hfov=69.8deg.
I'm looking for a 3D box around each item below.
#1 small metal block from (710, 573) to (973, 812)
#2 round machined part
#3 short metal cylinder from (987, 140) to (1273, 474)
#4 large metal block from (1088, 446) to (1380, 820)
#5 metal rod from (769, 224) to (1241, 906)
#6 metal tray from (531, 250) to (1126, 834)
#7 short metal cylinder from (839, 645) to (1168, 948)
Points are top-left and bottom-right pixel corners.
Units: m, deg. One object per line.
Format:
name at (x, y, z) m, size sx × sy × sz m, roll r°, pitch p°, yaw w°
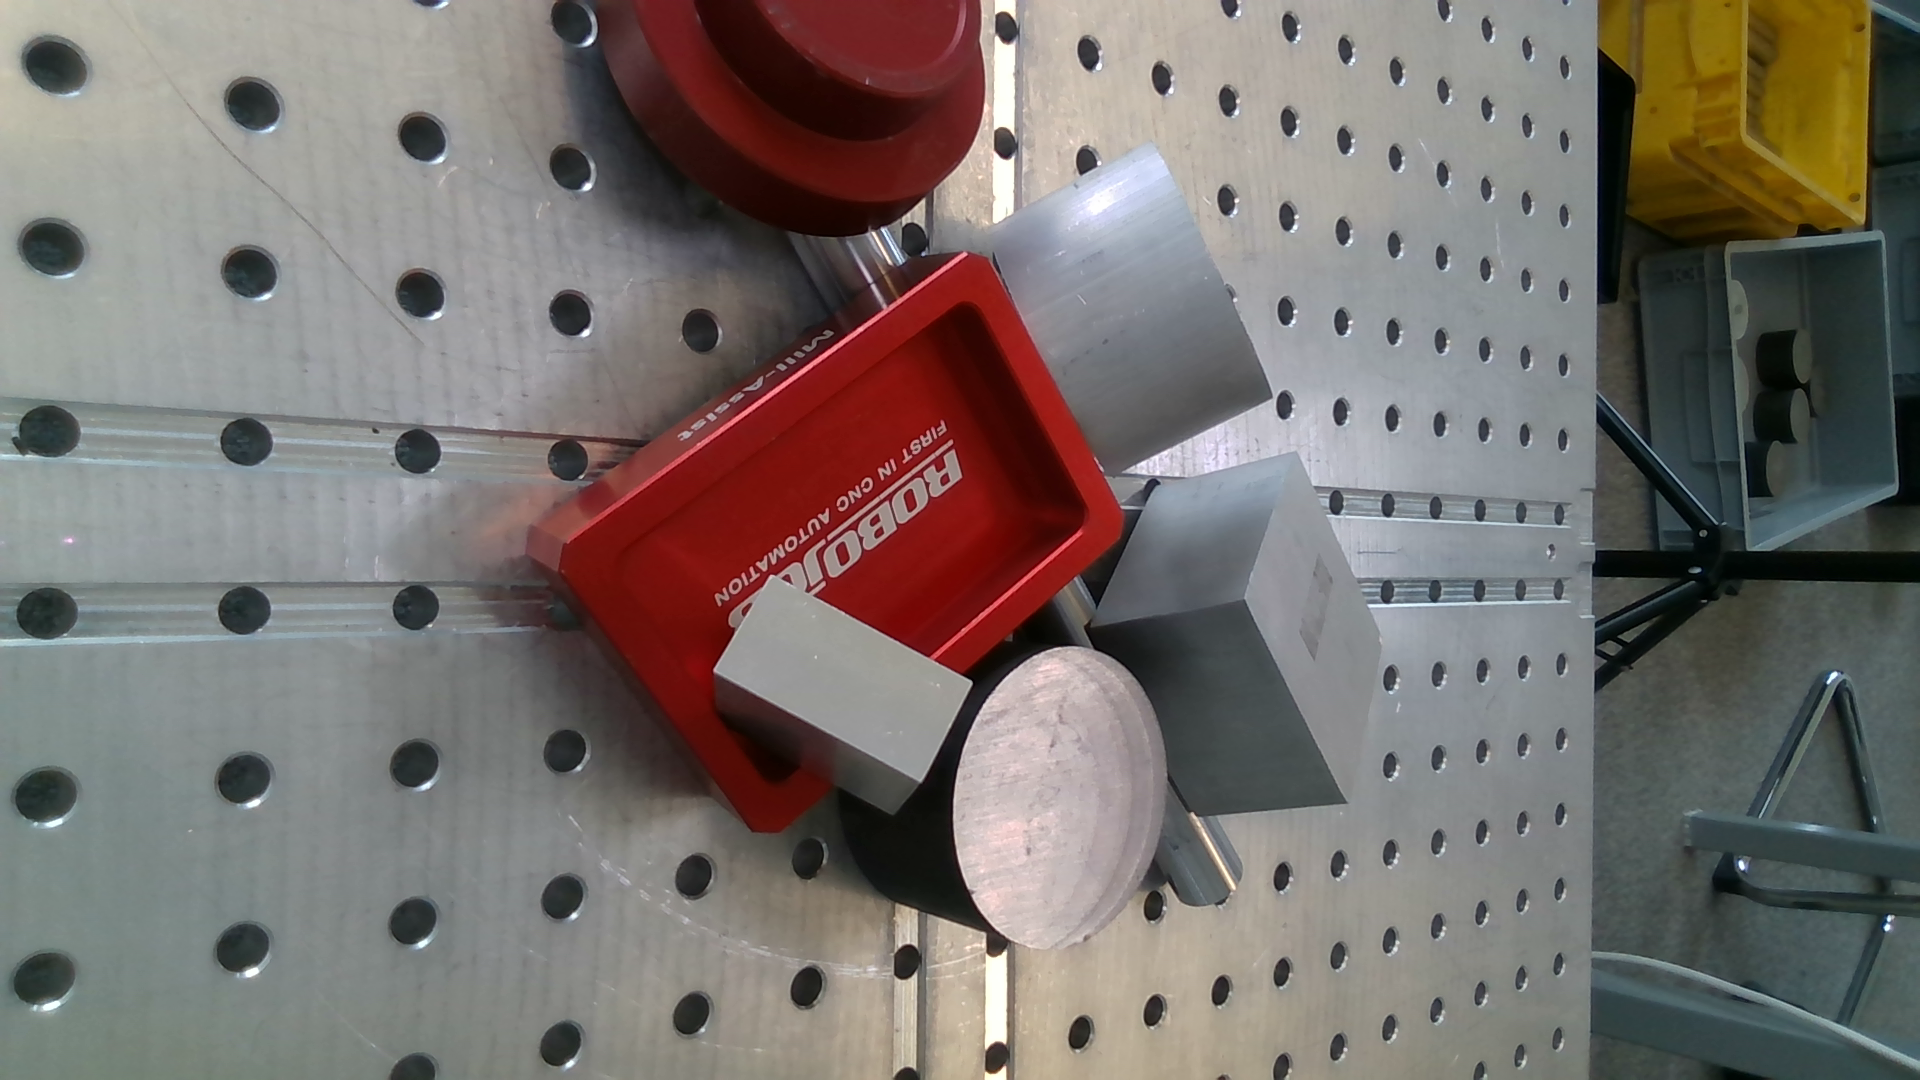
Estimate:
small metal block at (-0.029, 0.037, 0.316) m, size 0.050 × 0.050 × 0.025 m, roll 28°, pitch 70°, yaw 1°
round machined part at (-0.034, -0.129, 0.337) m, size 0.098 × 0.042 × 0.098 m, roll 12°, pitch 68°, yaw -31°
short metal cylinder at (0.048, -0.065, 0.392) m, size 0.080 × 0.050 × 0.080 m, roll 59°, pitch 13°, yaw -22°
large metal block at (0.091, 0.030, 0.440) m, size 0.080 × 0.050 × 0.080 m, roll 60°, pitch 36°, yaw -23°
metal rod at (0.012, -0.005, 0.406) m, size 0.025 × 0.025 × 0.301 m, roll -46°, pitch 117°, yaw -31°
metal tray at (-0.028, -0.002, 0.349) m, size 0.130 × 0.030 × 0.090 m, roll -39°, pitch 115°, yaw -19°
short metal cylinder at (0.013, 0.069, 0.388) m, size 0.080 × 0.050 × 0.080 m, roll 0°, pitch 90°, yaw -40°
